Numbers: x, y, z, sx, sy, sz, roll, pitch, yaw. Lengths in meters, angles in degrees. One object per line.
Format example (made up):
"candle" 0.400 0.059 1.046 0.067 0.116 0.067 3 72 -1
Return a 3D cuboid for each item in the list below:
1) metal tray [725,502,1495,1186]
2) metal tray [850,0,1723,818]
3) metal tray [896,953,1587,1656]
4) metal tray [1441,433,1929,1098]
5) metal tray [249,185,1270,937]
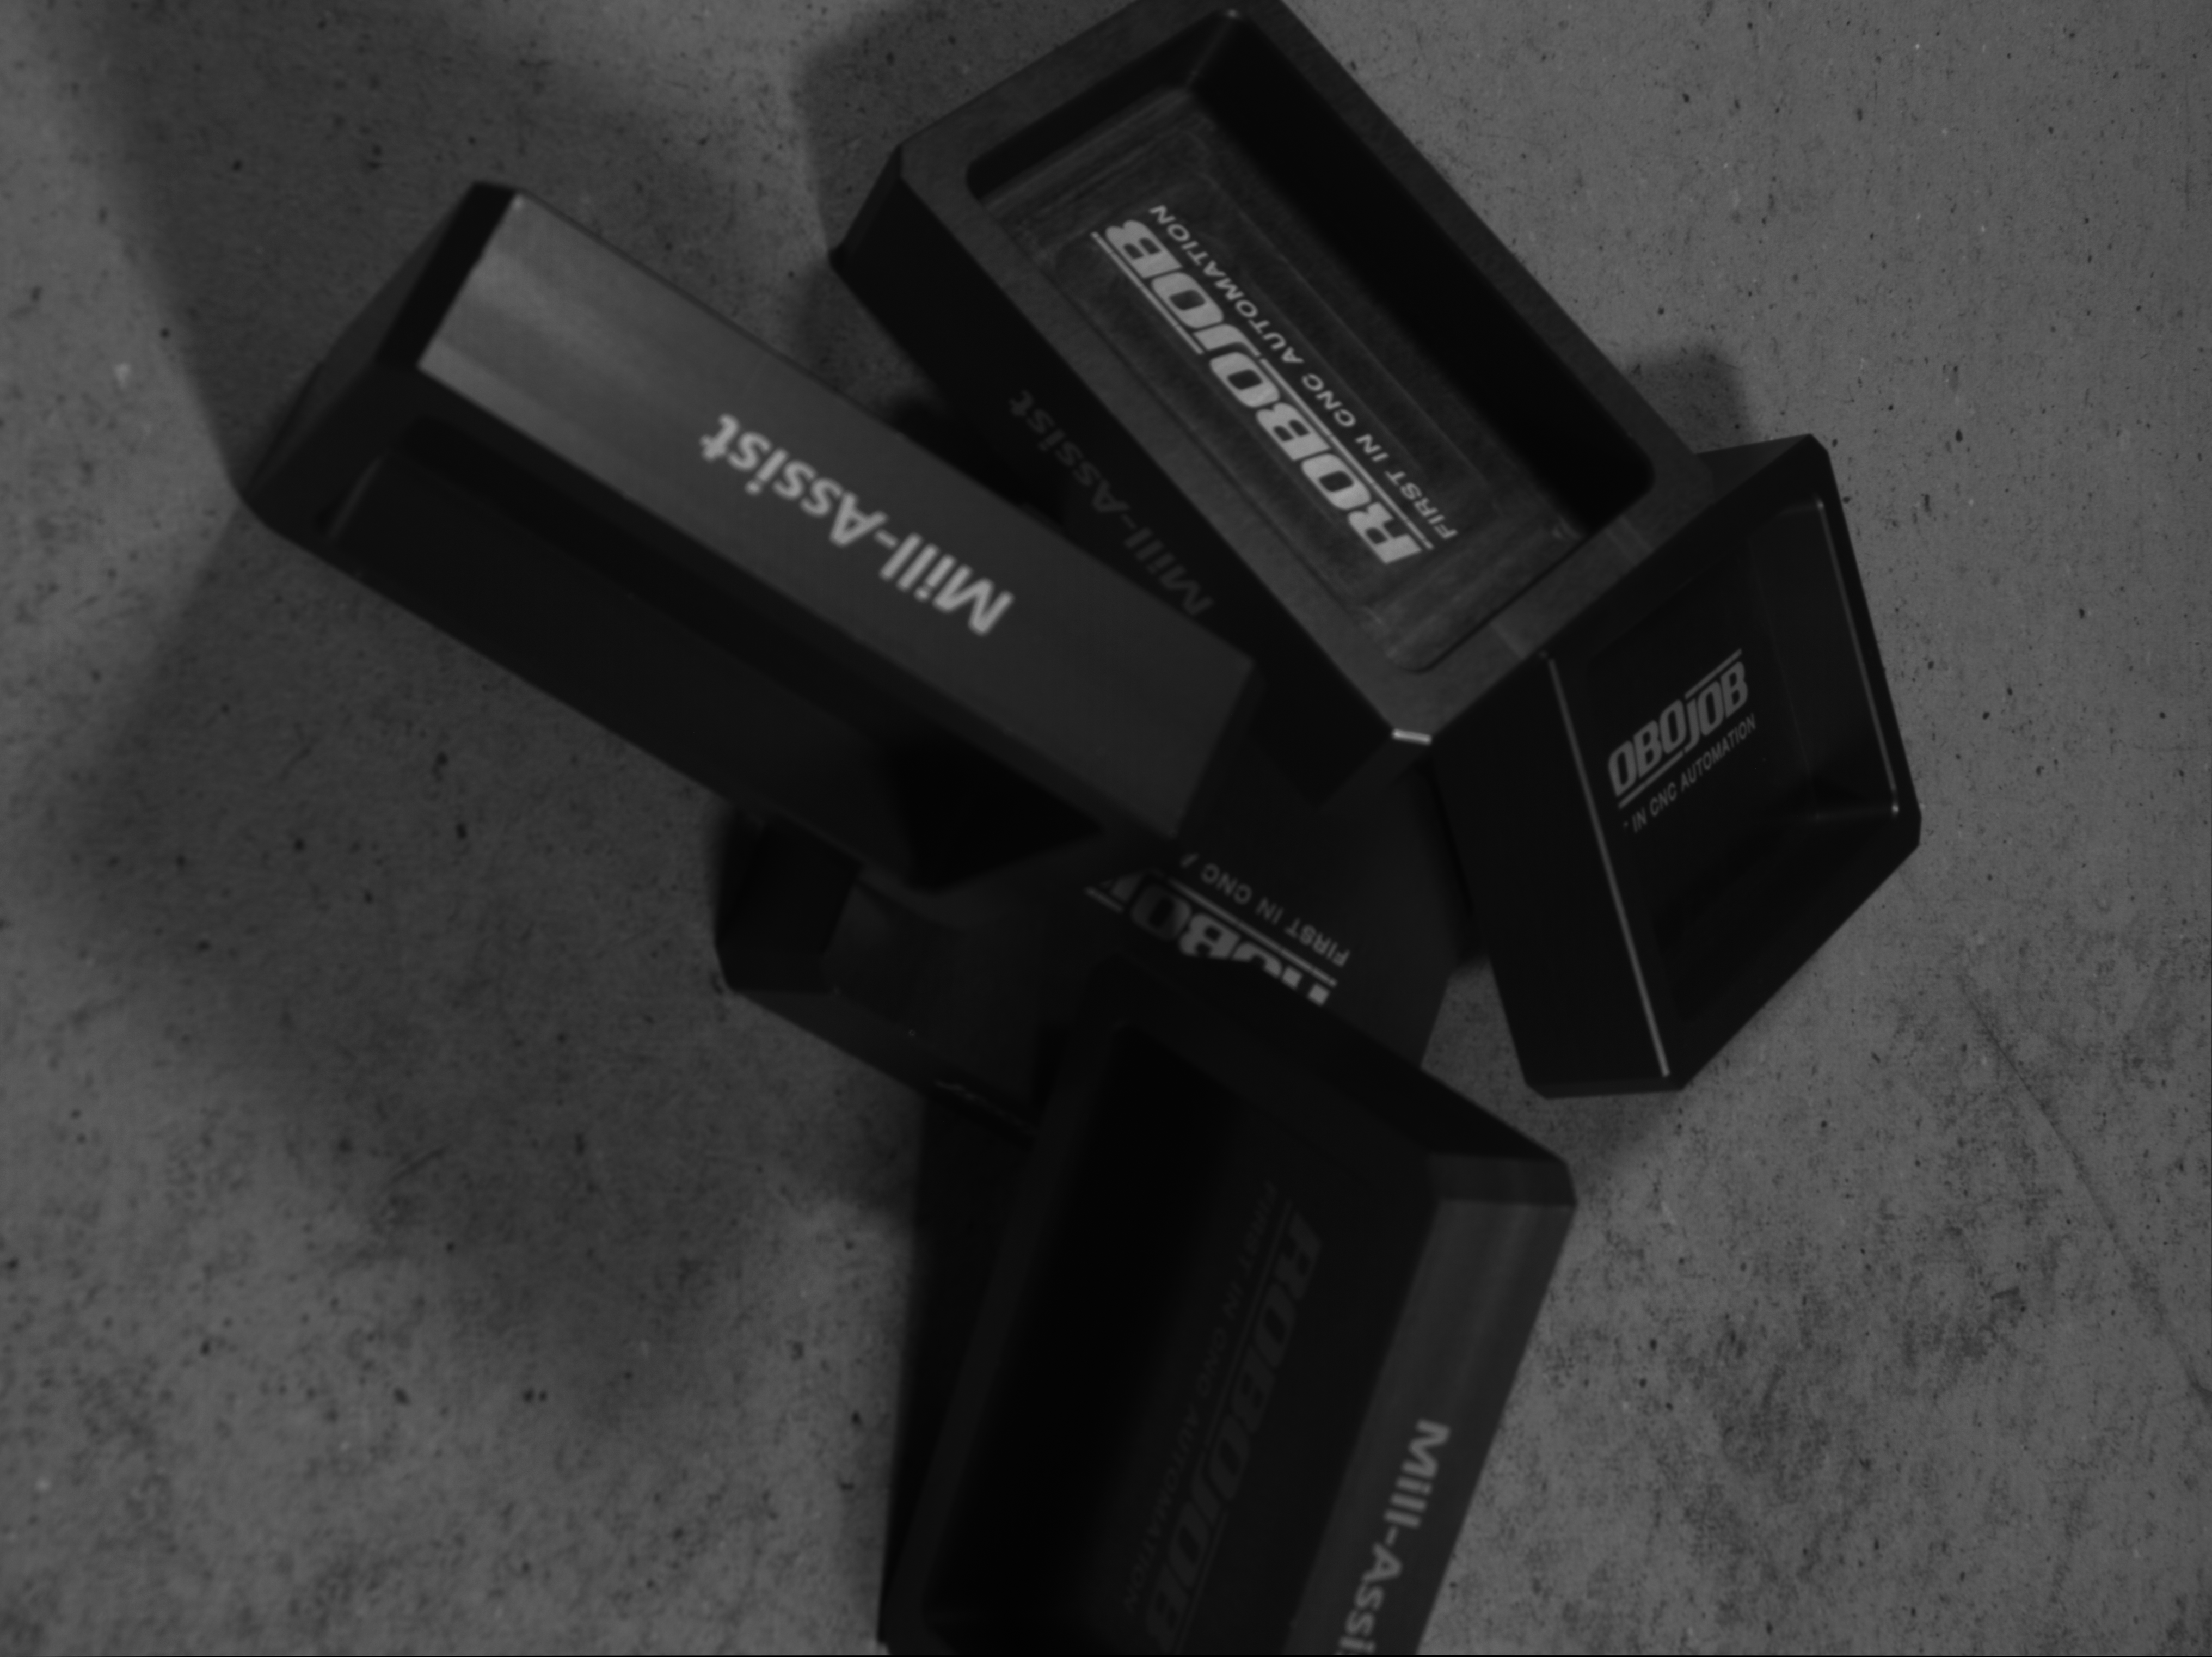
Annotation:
"metal tray" 0.005 0.013 0.638 0.130 0.030 0.090 32 70 -35
"metal tray" 0.031 -0.077 0.622 0.130 0.030 0.090 48 57 5
"metal tray" 0.018 0.096 0.585 0.030 0.090 0.130 7 106 -39
"metal tray" 0.113 -0.015 0.707 0.130 0.030 0.090 -34 111 -50
"metal tray" -0.052 -0.034 0.532 0.130 0.090 0.030 32 69 -17
